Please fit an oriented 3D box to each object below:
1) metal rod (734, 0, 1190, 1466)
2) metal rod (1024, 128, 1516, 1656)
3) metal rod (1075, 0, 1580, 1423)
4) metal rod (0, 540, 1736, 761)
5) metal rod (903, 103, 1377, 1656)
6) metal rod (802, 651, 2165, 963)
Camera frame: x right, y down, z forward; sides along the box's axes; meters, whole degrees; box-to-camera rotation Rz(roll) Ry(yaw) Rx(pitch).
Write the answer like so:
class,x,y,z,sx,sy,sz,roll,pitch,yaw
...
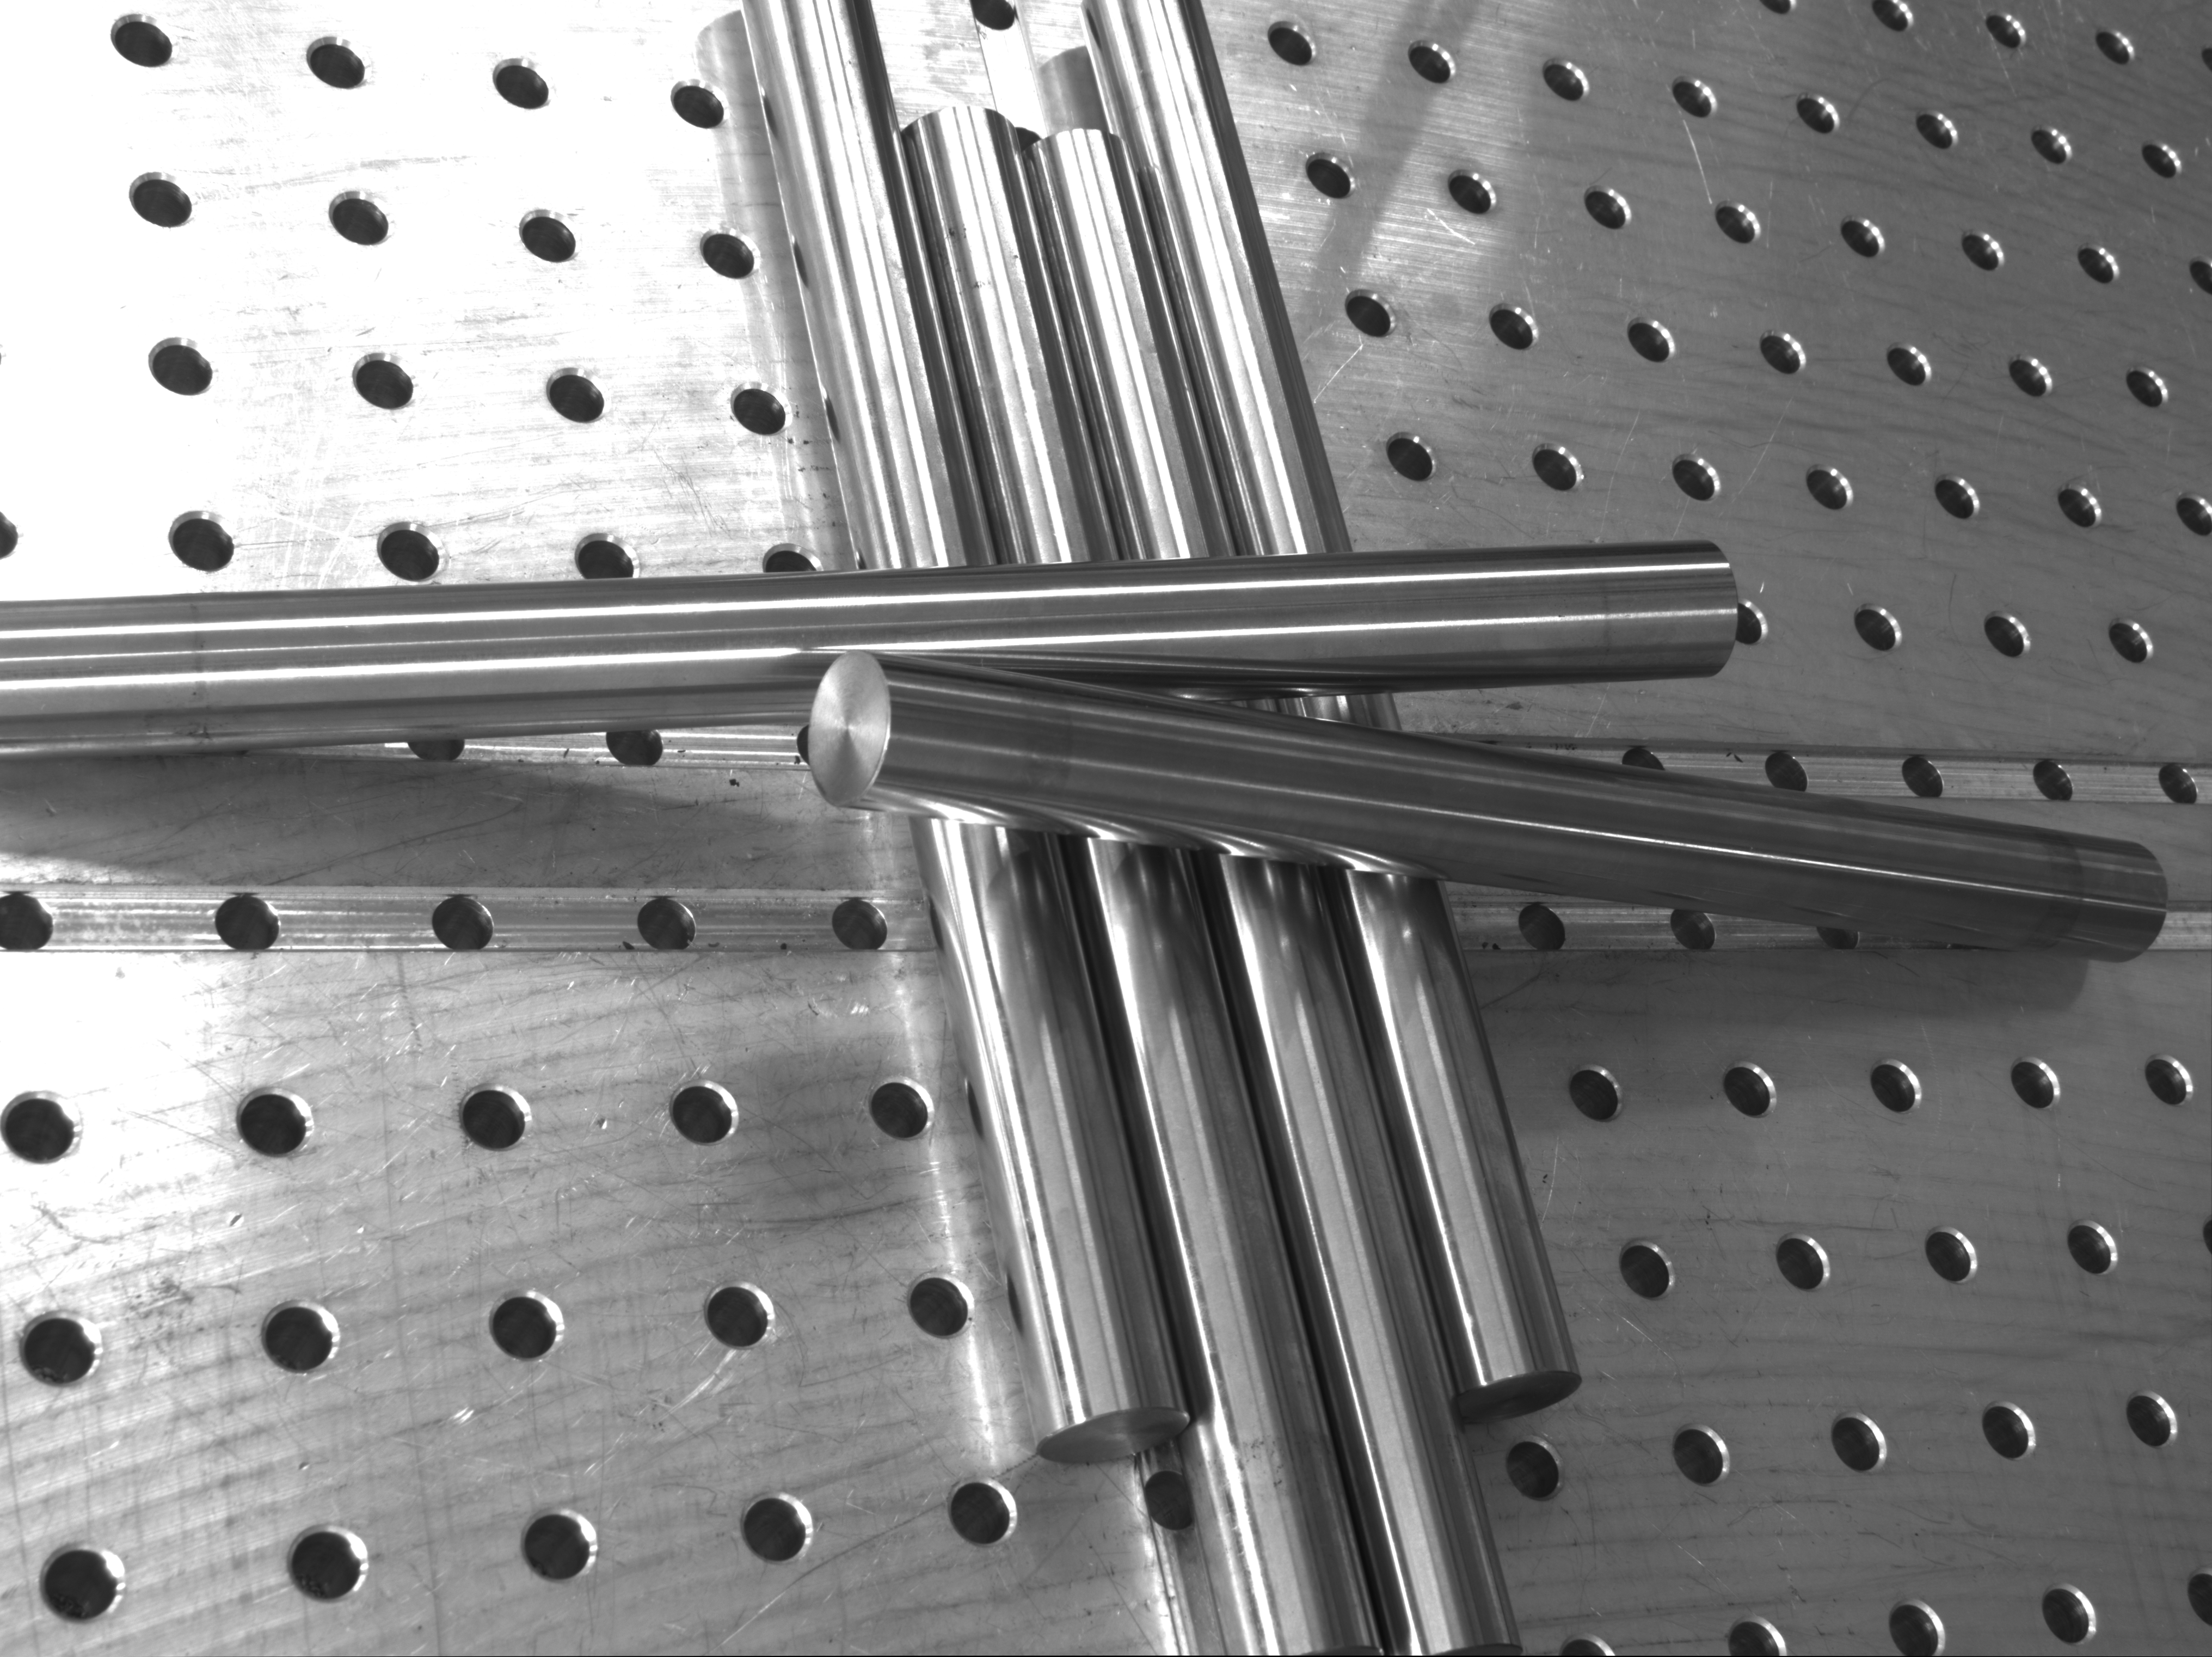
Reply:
class,x,y,z,sx,sy,sz,roll,pitch,yaw
metal rod,-0.030,-0.035,0.647,0.025,0.025,0.300,1,61,-27
metal rod,0.023,0.003,0.654,0.025,0.025,0.300,1,61,-27
metal rod,0.037,-0.036,0.683,0.025,0.025,0.300,1,61,-27
metal rod,-0.034,-0.031,0.614,0.301,0.025,0.025,-3,63,-20
metal rod,0.000,0.000,0.641,0.025,0.025,0.300,1,61,-27
metal rod,0.082,0.000,0.660,0.301,0.025,0.025,7,58,-35
